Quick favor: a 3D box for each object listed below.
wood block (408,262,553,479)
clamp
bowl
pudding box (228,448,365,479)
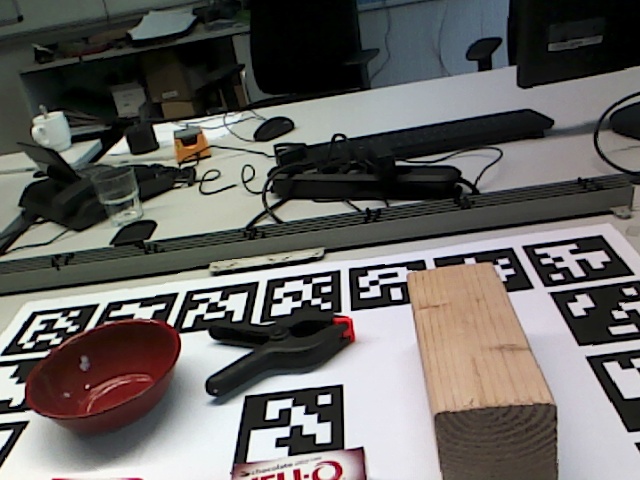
[{"bbox_3d":[0.134,0.114,0.553,0.090,0.090,0.206,-6,28,7],"label":"wood block"},{"bbox_3d":[-0.064,0.122,0.687,0.165,0.036,0.122,-12,27,-5],"label":"clamp"},{"bbox_3d":[-0.225,0.156,0.662,0.162,0.055,0.162,-8,30,4],"label":"bowl"},{"bbox_3d":[-0.019,0.214,0.479,0.114,0.038,0.090,-10,31,6],"label":"pudding box"}]
